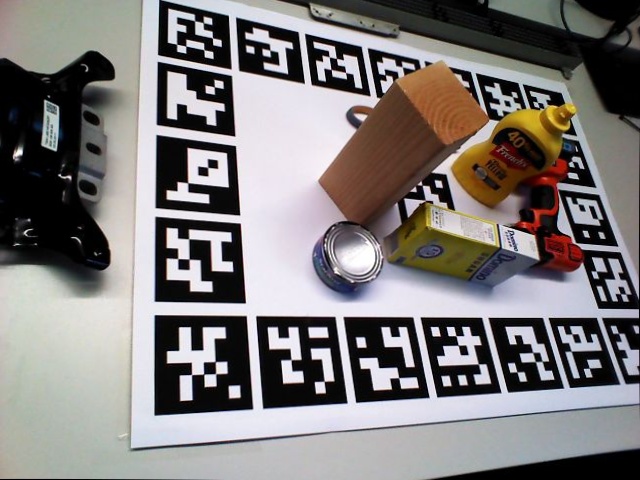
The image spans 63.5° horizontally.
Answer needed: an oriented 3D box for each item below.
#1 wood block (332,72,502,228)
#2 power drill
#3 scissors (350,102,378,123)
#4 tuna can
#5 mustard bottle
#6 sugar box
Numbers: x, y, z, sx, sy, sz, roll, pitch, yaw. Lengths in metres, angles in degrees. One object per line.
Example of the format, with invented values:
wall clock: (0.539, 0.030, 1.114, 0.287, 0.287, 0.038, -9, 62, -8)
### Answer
wood block: (0.111, -0.099, 0.630, 0.090, 0.208, 0.090, -28, 82, -31)
power drill: (0.331, -0.047, 0.784, 0.184, 0.058, 0.186, 16, 69, -17)
scissors: (0.141, -0.154, 0.769, 0.202, 0.016, 0.087, 6, 62, -22)
tuna can: (0.055, 0.026, 0.636, 0.085, 0.034, 0.085, 10, 65, -22)
mustard bottle: (0.305, -0.119, 0.734, 0.096, 0.193, 0.058, 48, 58, 0)
sugar box: (0.215, 0.019, 0.683, 0.176, 0.093, 0.045, 16, 59, -20)
